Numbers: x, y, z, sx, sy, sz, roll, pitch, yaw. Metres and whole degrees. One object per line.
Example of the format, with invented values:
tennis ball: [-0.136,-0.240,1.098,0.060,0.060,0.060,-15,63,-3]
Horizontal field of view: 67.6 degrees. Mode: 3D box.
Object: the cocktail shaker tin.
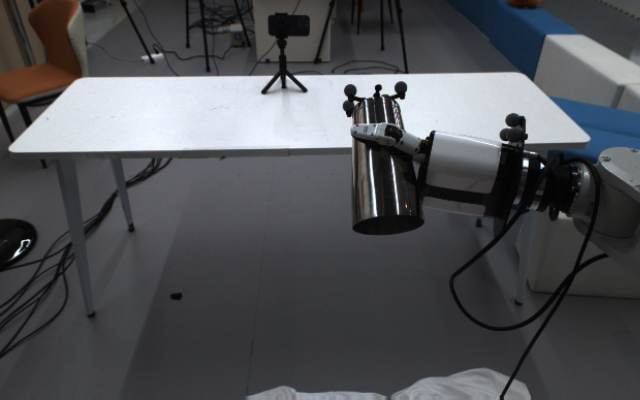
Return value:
cocktail shaker tin: [0.083,-0.047,0.644,0.093,0.093,0.170,-2,71,-6]
